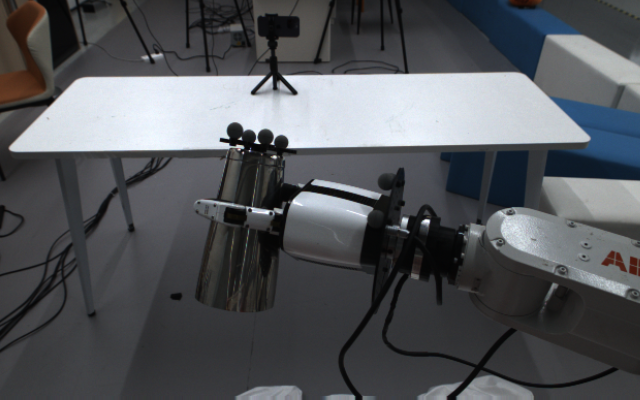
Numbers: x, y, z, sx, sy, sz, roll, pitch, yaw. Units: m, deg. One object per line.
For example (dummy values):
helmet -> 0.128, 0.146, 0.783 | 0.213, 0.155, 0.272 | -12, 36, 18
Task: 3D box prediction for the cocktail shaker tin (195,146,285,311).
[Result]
cocktail shaker tin -> -0.083, 0.032, 0.553 | 0.093, 0.170, 0.093 | 9, 3, 0
